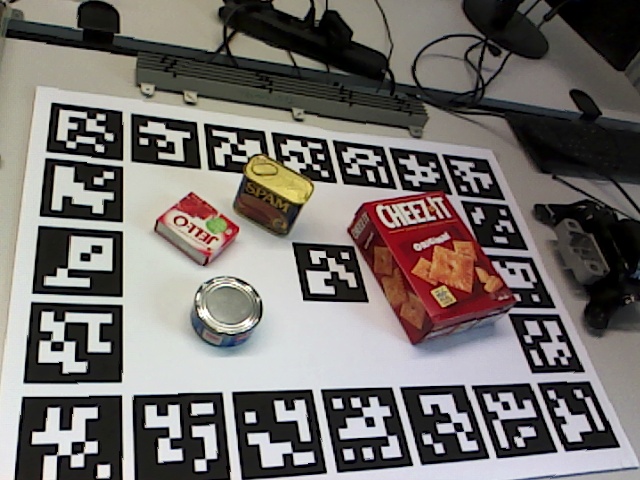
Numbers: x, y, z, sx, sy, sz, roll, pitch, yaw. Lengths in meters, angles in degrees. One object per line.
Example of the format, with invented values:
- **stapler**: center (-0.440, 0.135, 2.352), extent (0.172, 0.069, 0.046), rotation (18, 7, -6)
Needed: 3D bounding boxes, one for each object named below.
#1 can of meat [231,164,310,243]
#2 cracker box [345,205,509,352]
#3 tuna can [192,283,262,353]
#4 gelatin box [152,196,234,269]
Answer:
- **can of meat**: center (-0.077, -0.052, 0.927), extent (0.102, 0.084, 0.058), rotation (27, 45, 0)
- **cracker box**: center (0.164, 0.050, 0.955), extent (0.163, 0.072, 0.215), rotation (-10, 55, -33)
- **tuna can**: center (-0.121, 0.100, 0.795), extent (0.085, 0.034, 0.086), rotation (12, 51, -15)
- **gelatin box**: center (-0.179, -0.012, 0.872), extent (0.089, 0.030, 0.073), rotation (37, 43, 5)
